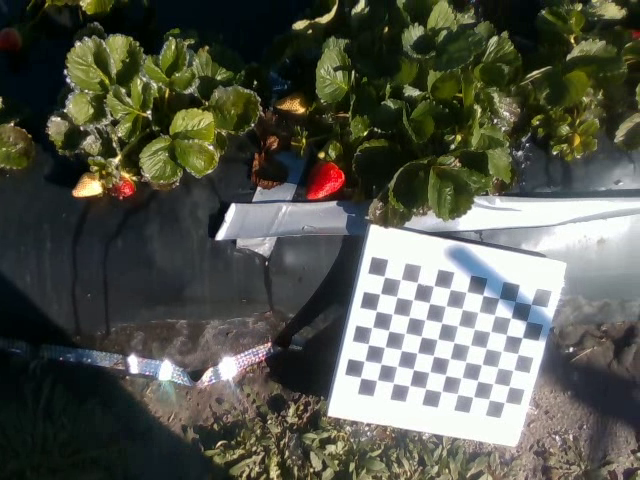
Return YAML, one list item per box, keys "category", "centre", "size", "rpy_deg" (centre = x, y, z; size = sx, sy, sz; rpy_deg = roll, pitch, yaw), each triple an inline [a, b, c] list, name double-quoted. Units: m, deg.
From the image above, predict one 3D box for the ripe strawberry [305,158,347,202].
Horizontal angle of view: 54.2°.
- category: "ripe strawberry"
  centre: [0.006, -0.074, 0.870]
  size: [0.057, 0.061, 0.065]
  rpy_deg: [-32, 20, 45]
